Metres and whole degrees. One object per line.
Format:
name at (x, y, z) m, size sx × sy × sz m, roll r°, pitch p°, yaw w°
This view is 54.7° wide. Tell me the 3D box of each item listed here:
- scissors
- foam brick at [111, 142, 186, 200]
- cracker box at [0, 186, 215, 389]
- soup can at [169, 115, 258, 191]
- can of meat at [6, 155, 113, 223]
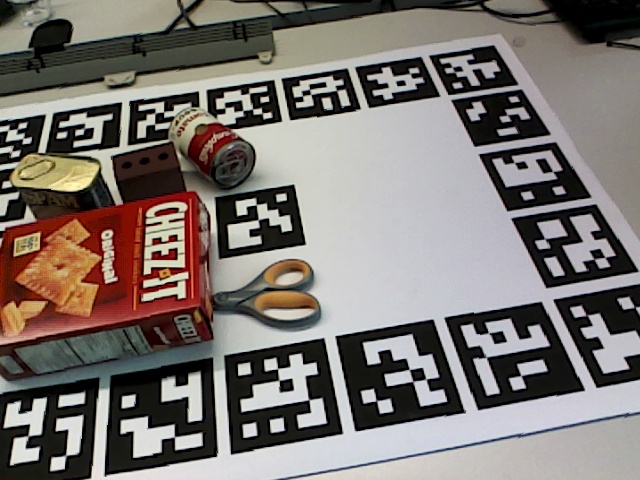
scissors at (-0.110, 0.070, 0.656) m, size 0.202 × 0.016 × 0.088 m, roll -13°, pitch 51°, yaw -6°
foam brick at (-0.215, -0.080, 0.781) m, size 0.078 × 0.051 × 0.053 m, roll -17°, pitch 52°, yaw -9°
cracker box at (-0.231, 0.042, 0.649) m, size 0.213 × 0.071 × 0.165 m, roll -16°, pitch 50°, yaw -3°
soup can at (-0.139, -0.114, 0.801) m, size 0.103 × 0.067 × 0.068 m, roll 32°, pitch 60°, yaw 33°
can of meat at (-0.305, -0.052, 0.741) m, size 0.102 × 0.083 × 0.058 m, roll 2°, pitch 52°, yaw 6°
